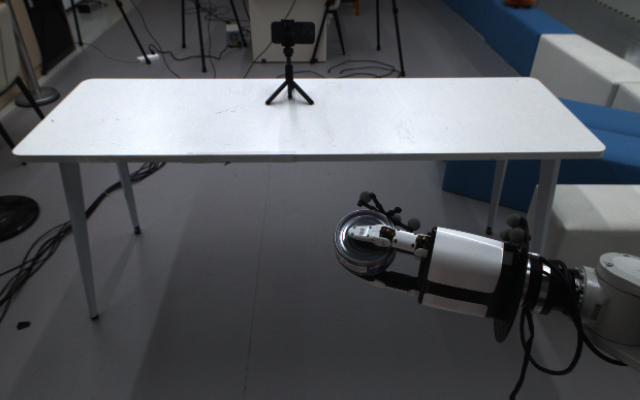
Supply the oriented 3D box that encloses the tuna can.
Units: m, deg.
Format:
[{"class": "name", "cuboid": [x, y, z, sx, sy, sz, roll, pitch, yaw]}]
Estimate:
[{"class": "tuna can", "cuboid": [0.065, 0.062, 0.650, 0.085, 0.034, 0.085, -4, 57, 6]}]
